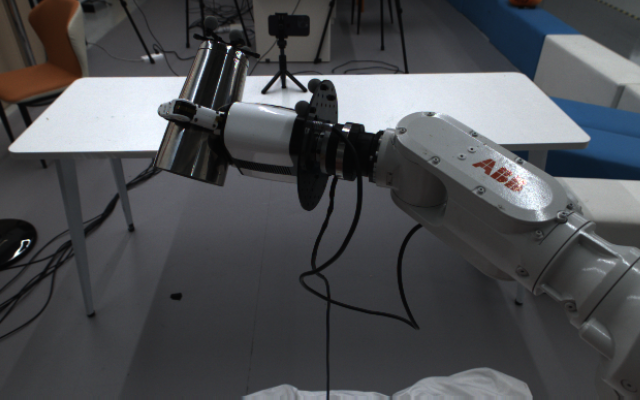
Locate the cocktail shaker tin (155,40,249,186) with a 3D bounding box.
[{"bbox_3d":[-0.146,-0.110,0.624,0.093,0.170,0.093,15,-4,1],"label":"cocktail shaker tin"}]
